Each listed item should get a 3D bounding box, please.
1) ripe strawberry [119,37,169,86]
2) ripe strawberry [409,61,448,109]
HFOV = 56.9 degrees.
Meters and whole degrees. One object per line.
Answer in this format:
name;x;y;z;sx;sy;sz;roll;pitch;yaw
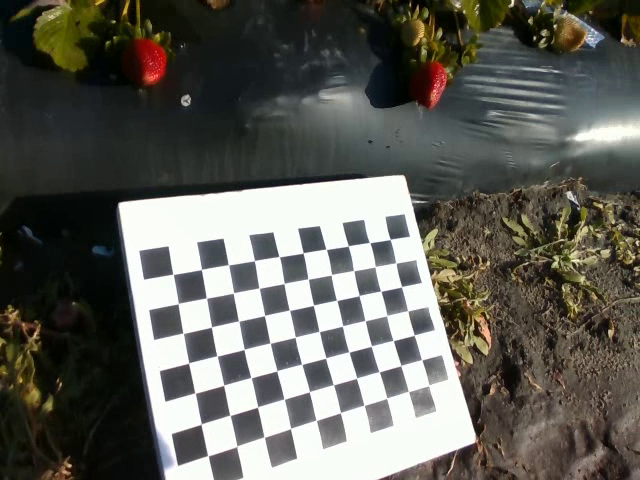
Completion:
ripe strawberry;-0.148;-0.143;0.481;0.045;0.055;0.042;2;-46;-29
ripe strawberry;0.106;-0.147;0.561;0.042;0.059;0.042;17;-31;-24
